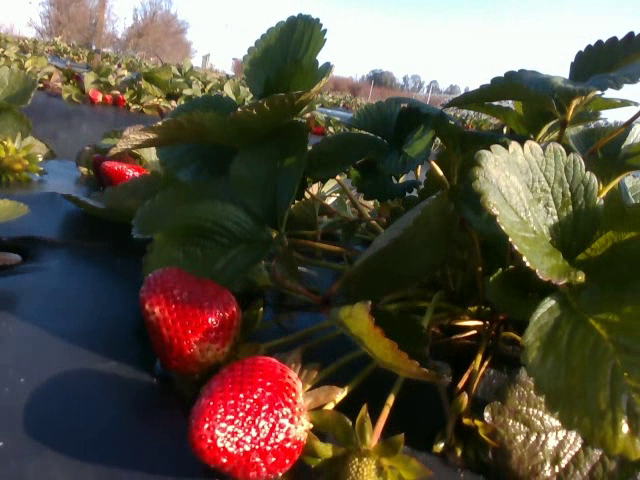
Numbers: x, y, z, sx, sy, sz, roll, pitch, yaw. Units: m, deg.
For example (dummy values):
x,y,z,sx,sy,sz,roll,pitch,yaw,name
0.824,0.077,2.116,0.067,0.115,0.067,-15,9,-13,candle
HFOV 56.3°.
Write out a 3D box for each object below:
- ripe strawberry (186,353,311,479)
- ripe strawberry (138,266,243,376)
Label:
x,y,z,sx,sy,sz,roll,pitch,yaw,name
-0.023,0.056,0.192,0.043,0.039,0.053,44,13,22,ripe strawberry
-0.054,0.033,0.251,0.054,0.048,0.039,39,-44,-13,ripe strawberry
